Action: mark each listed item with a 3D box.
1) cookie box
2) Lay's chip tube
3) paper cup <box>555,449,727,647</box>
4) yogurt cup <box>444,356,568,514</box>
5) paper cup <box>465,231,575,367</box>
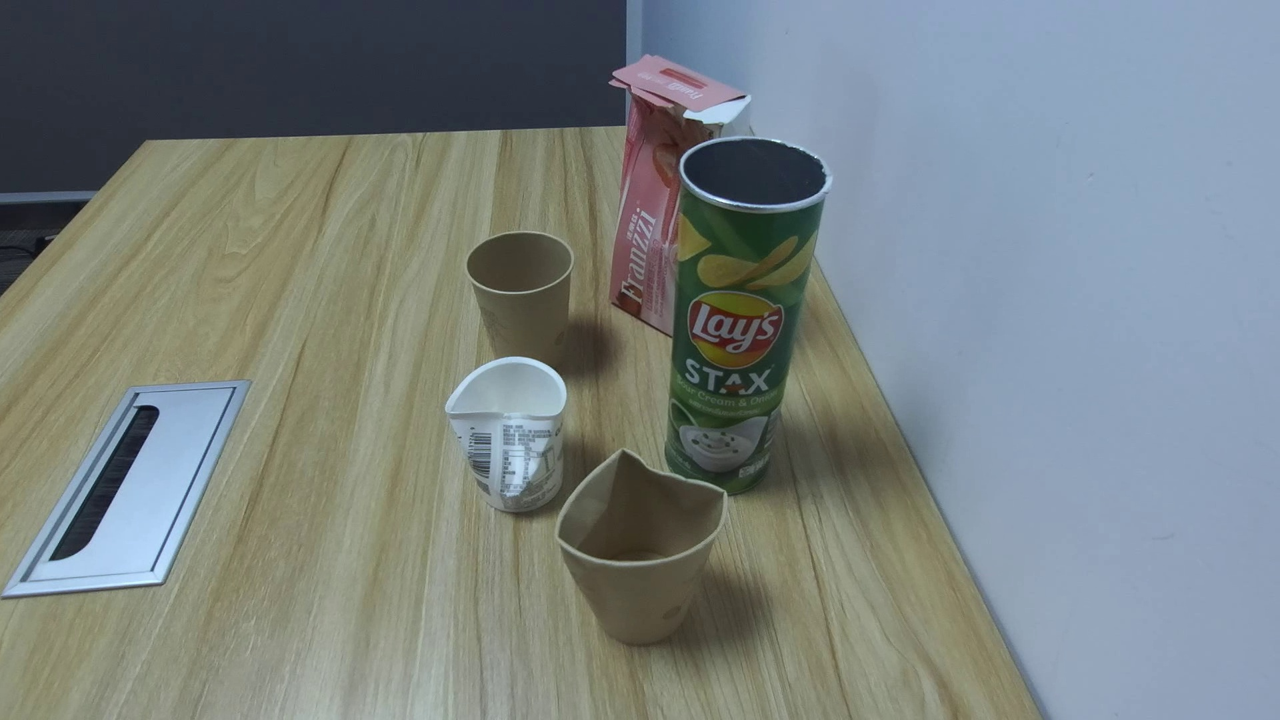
[{"bbox_3d":[0.024,-0.106,0.505,0.055,0.184,0.118,-30,48,-28],"label":"cookie box"},{"bbox_3d":[0.052,-0.014,0.385,0.071,0.203,0.071,0,43,0],"label":"Lay's chip tube"},{"bbox_3d":[0.001,0.100,0.351,0.071,0.084,0.066,19,45,19],"label":"paper cup"},{"bbox_3d":[-0.074,0.047,0.422,0.067,0.070,0.067,-2,41,2],"label":"yogurt cup"},{"bbox_3d":[-0.081,-0.035,0.500,0.075,0.082,0.075,1,39,0],"label":"paper cup"}]
